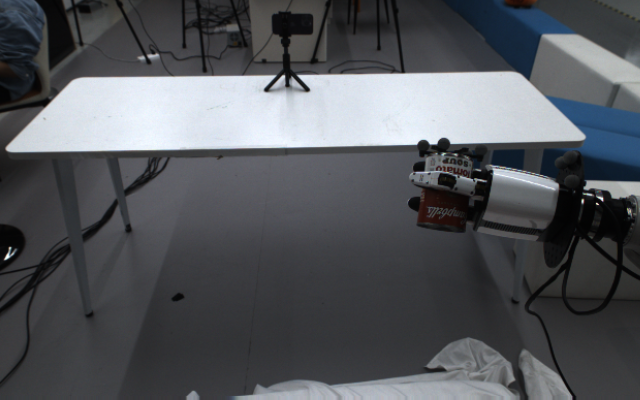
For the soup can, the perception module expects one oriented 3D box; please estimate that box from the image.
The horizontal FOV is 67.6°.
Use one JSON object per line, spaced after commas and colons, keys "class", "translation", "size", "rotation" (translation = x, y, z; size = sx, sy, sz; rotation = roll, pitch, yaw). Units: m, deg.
{"class": "soup can", "translation": [0.177, -0.010, 0.679], "size": [0.067, 0.101, 0.067], "rotation": [9, -6, 1]}
